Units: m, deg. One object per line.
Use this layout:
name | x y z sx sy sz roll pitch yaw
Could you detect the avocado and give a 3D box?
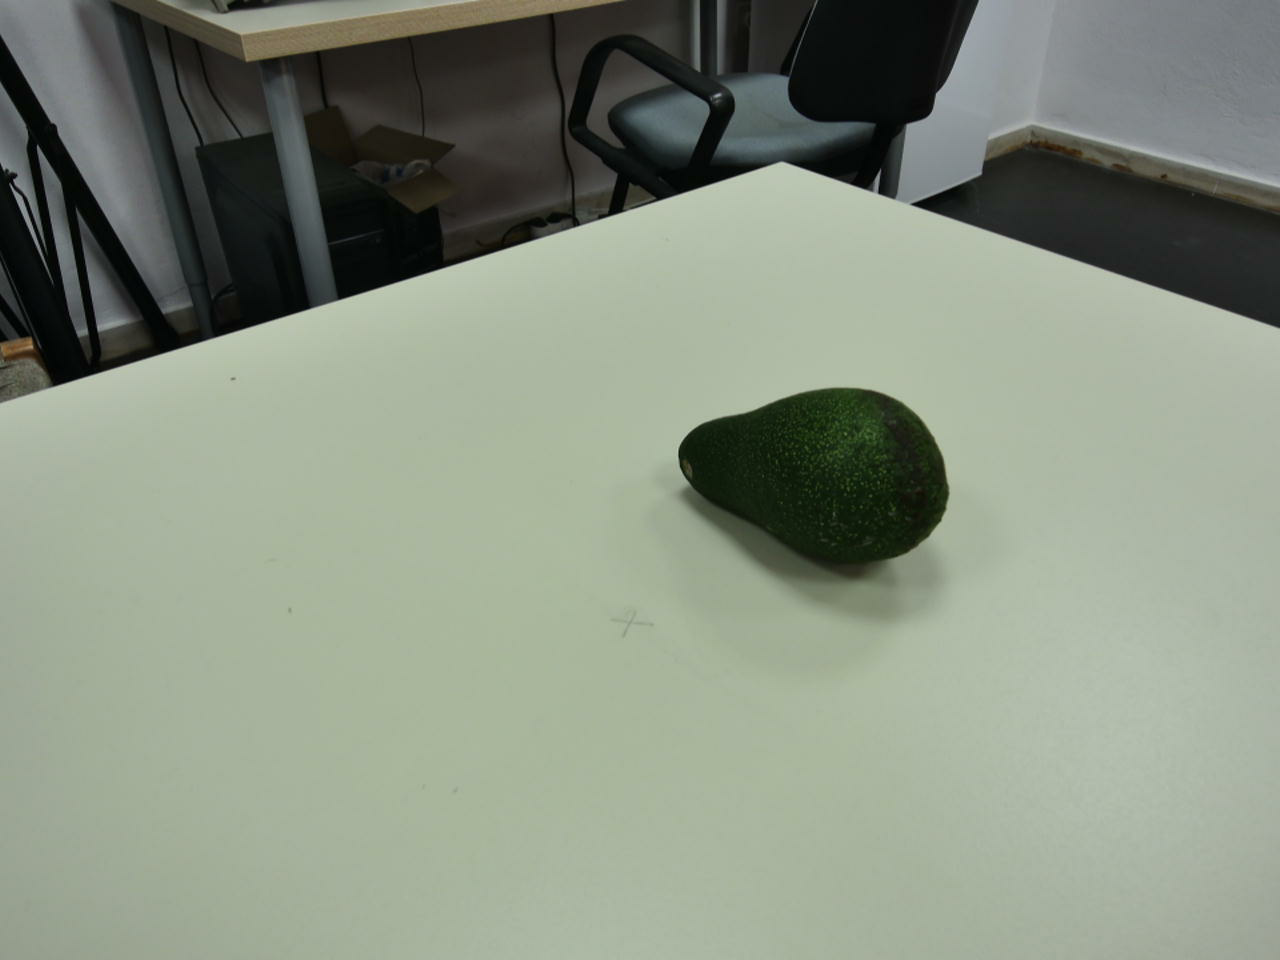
avocado | 0.077 -0.009 0.429 0.074 0.076 0.123 -20 39 -25
